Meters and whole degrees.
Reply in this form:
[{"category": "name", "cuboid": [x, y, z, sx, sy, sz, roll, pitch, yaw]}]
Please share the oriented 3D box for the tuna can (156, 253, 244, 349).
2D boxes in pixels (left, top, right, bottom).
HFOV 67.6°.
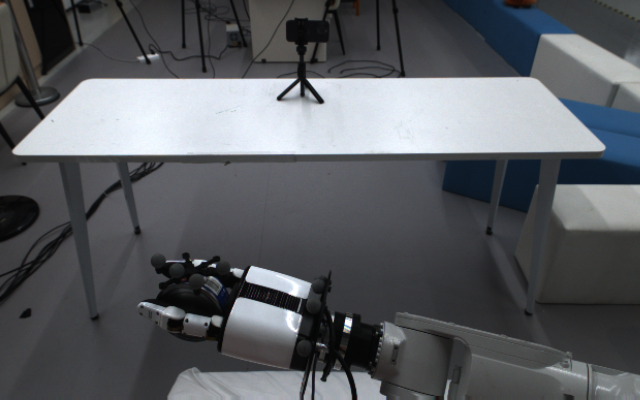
[{"category": "tuna can", "cuboid": [-0.153, 0.131, 0.594, 0.085, 0.085, 0.034, 6, 22, 5]}]
